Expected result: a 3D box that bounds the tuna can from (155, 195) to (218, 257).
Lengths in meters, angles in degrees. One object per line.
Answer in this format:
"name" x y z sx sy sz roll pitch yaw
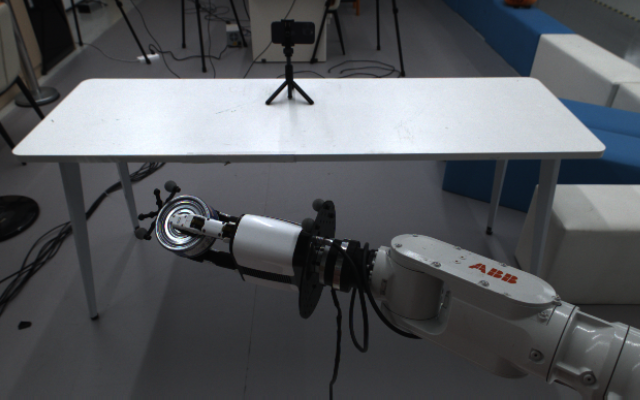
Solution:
"tuna can" -0.187 0.036 0.688 0.085 0.034 0.085 -3 71 10
